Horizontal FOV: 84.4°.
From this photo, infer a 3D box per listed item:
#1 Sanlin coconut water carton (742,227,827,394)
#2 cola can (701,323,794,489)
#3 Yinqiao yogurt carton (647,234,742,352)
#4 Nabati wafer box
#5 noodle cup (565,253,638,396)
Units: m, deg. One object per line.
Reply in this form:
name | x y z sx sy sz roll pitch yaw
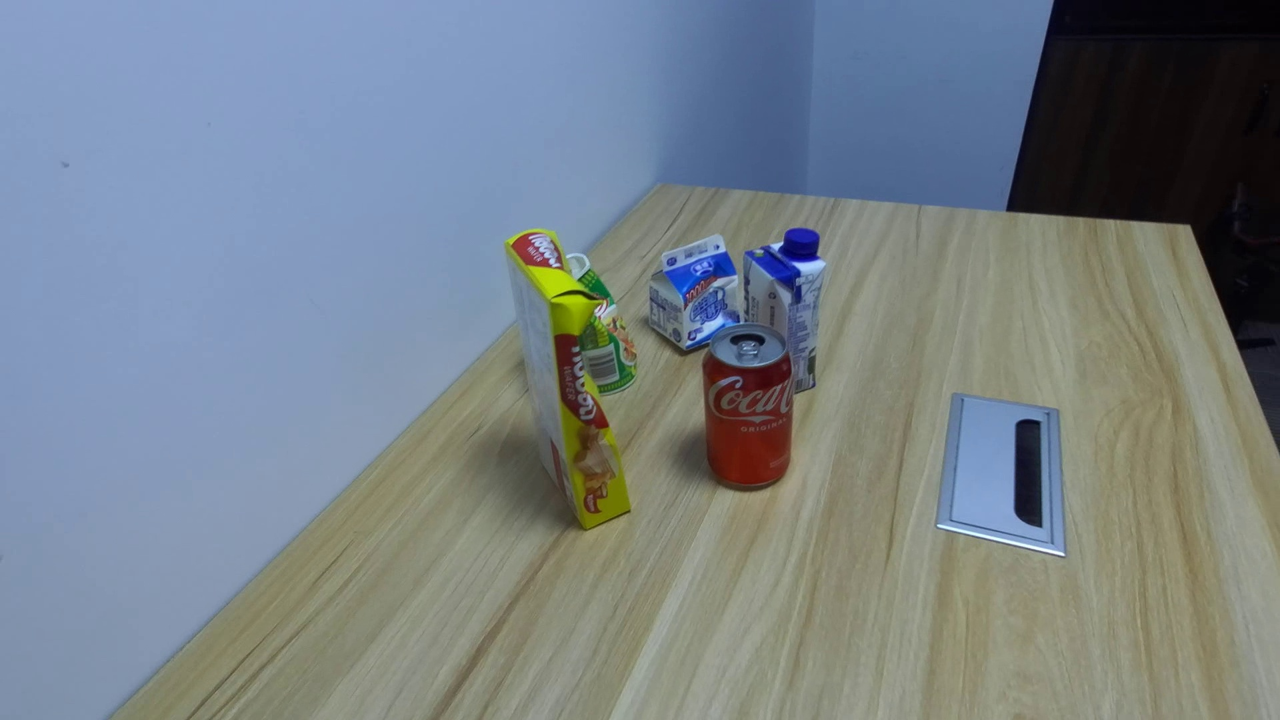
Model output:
Sanlin coconut water carton | 0.121 -0.039 0.603 0.061 0.144 0.060 -18 38 -16
cola can | 0.081 0.034 0.529 0.068 0.120 0.067 -3 35 3
Yinqiao yogurt carton | 0.055 -0.071 0.700 0.077 0.094 0.070 -20 32 -22
Nabati wafer box | -0.048 0.018 0.497 0.042 0.205 0.106 -19 36 -18
noodle cup | -0.045 -0.031 0.644 0.075 0.122 0.083 9 46 32
